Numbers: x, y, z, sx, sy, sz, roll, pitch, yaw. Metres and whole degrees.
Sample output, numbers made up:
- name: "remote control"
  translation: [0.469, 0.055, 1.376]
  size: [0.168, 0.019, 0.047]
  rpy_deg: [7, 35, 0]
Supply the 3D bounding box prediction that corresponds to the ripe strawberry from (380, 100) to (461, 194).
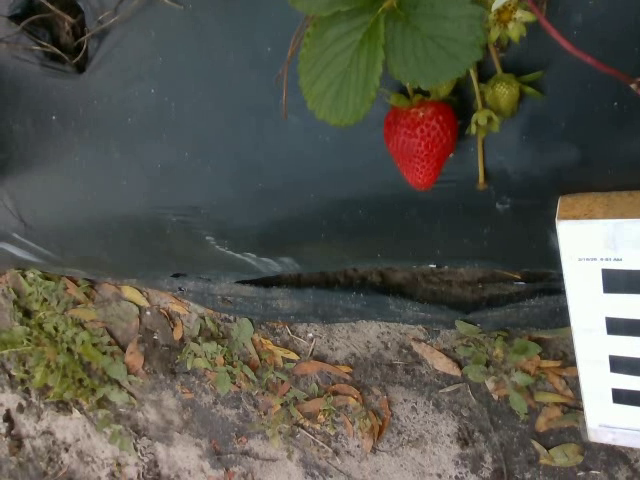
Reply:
- name: "ripe strawberry"
  translation: [0.016, -0.015, 0.095]
  size: [0.018, 0.017, 0.014]
  rpy_deg: [-5, 4, 18]
